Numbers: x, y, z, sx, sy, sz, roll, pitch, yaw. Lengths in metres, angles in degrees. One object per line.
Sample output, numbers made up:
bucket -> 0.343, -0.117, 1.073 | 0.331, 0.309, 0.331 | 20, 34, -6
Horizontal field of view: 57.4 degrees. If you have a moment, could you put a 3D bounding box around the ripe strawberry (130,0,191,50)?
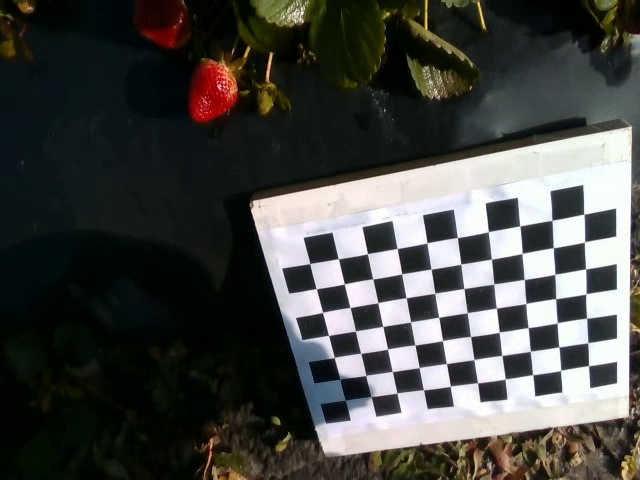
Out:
ripe strawberry -> -0.123, -0.173, 0.469 | 0.054, 0.048, 0.039 | -3, 24, -22

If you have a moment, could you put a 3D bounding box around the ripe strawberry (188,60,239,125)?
ripe strawberry -> -0.087, -0.114, 0.454 | 0.043, 0.053, 0.038 | 31, -20, -10
